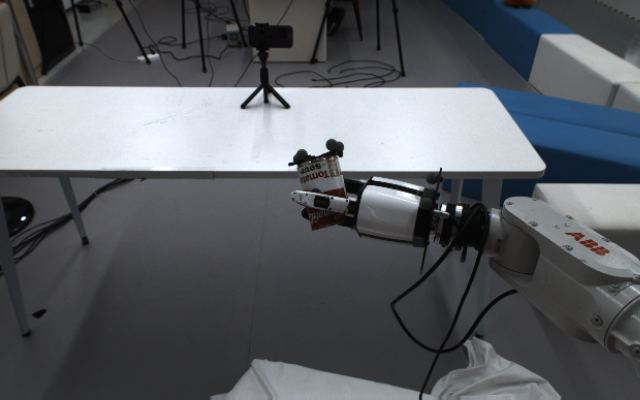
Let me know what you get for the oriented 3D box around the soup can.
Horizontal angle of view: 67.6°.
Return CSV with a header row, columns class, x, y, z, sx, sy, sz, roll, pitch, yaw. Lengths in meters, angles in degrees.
class,x,y,z,sx,sy,sz,roll,pitch,yaw
soup can,0.008,-0.009,0.744,0.067,0.101,0.067,-14,-2,-1
